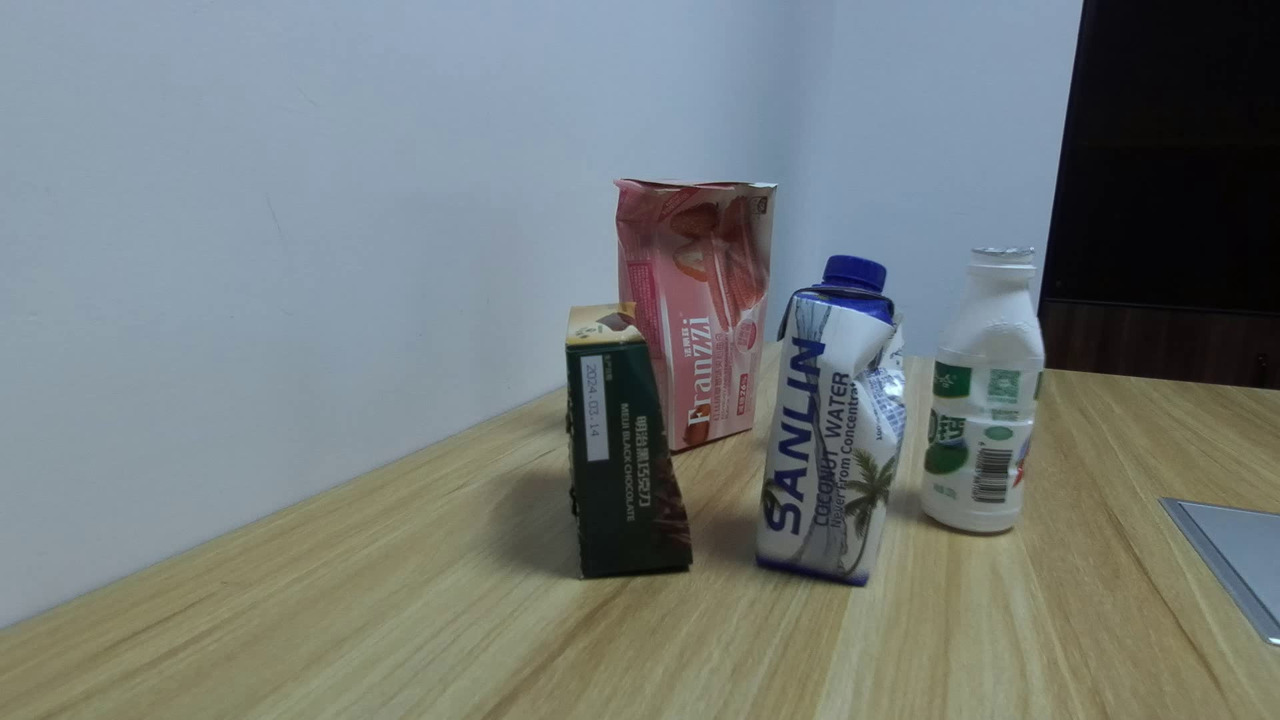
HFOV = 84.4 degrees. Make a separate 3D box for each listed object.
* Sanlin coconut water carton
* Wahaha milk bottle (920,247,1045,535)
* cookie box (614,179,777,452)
[{"bbox_3d":[0.093,0.026,0.333,0.060,0.143,0.070,8,10,21],"label":"Sanlin coconut water carton"},{"bbox_3d":[0.182,0.015,0.378,0.055,0.149,0.055,0,11,0],"label":"Wahaha milk bottle"},{"bbox_3d":[0.038,-0.033,0.498,0.119,0.184,0.055,-11,18,-41],"label":"cookie box"}]
